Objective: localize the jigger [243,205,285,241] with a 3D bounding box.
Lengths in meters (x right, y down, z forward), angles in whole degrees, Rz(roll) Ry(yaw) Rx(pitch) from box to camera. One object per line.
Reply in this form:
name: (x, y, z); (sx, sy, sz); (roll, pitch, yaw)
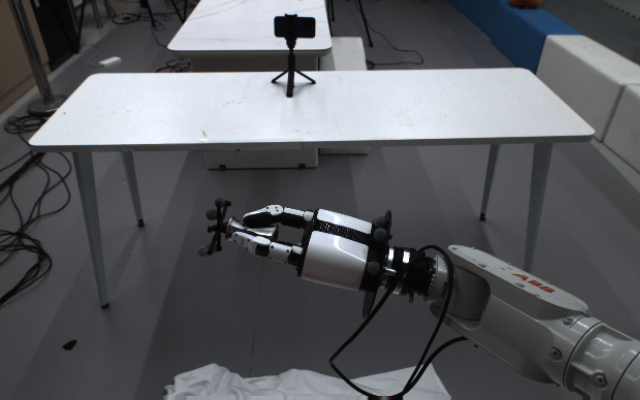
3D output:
jigger: (-0.092, 0.047, 0.704); (0.071, 0.043, 0.043); (11, 35, 5)
